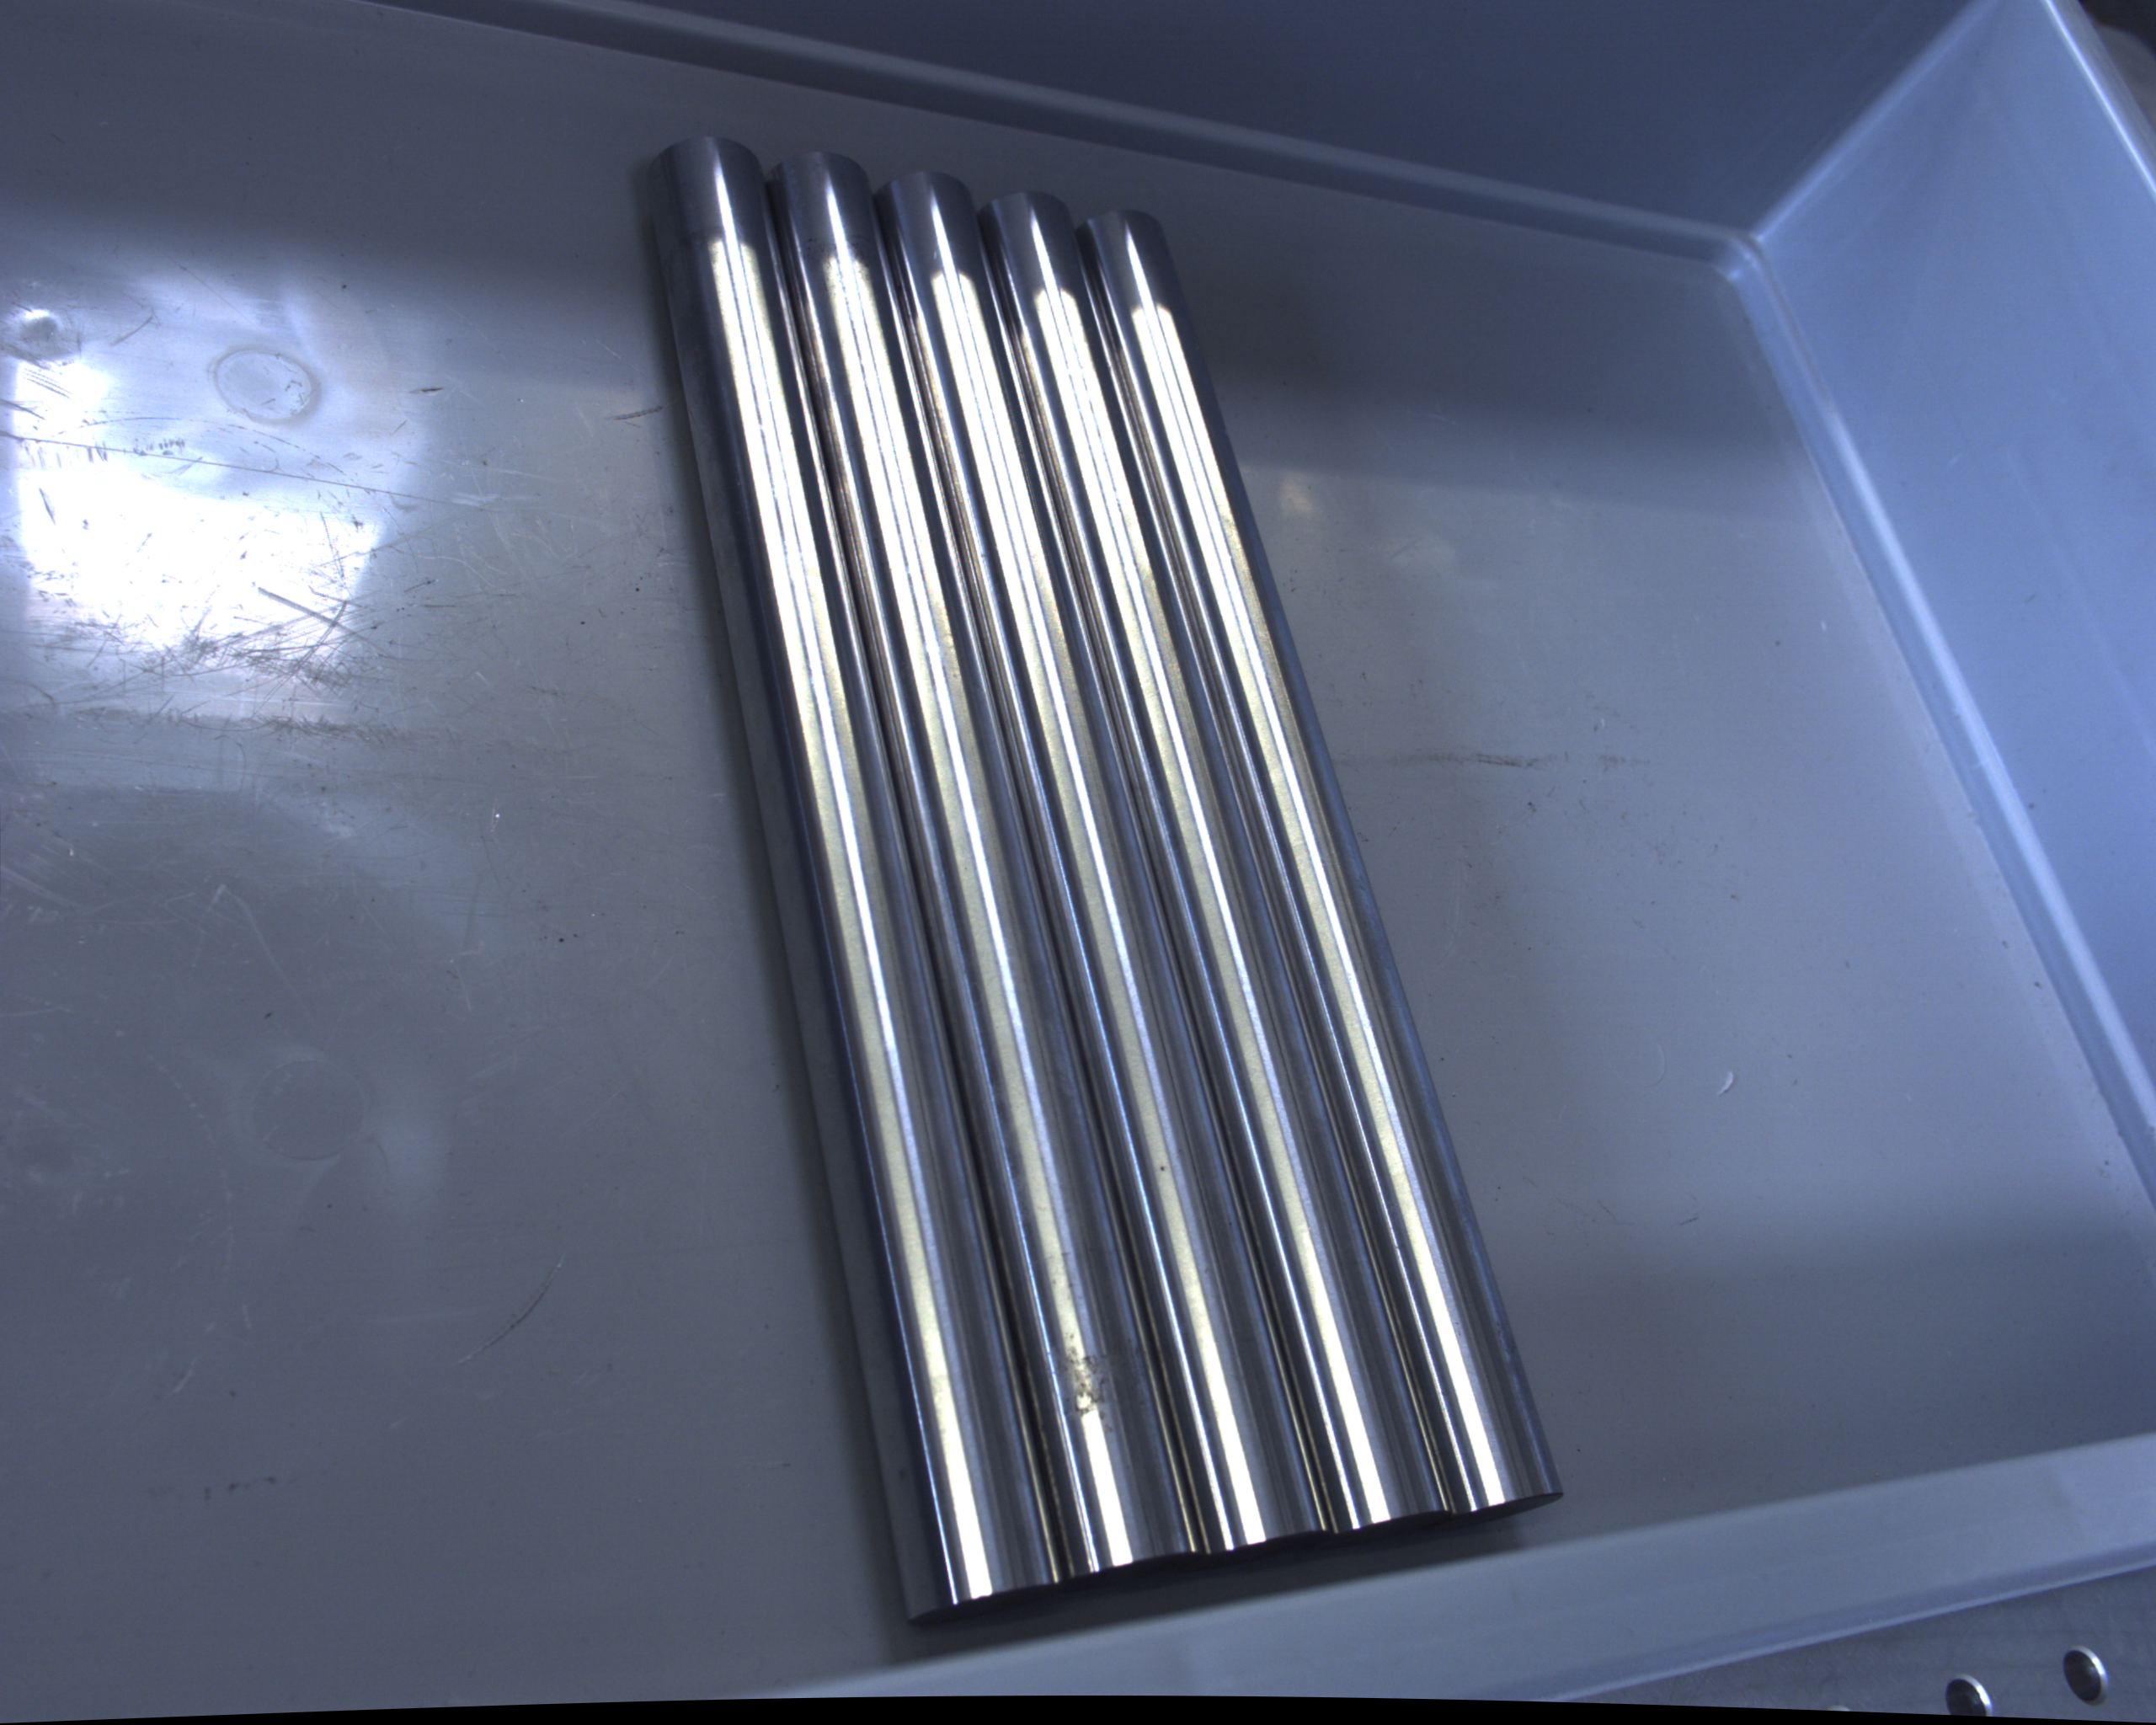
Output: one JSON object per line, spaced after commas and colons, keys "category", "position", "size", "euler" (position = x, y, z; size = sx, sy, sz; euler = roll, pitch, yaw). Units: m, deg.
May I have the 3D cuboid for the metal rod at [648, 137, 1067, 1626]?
{"category": "metal rod", "position": [-0.047, -0.016, 0.388], "size": [0.025, 0.025, 0.299], "euler": [0, 62, -28]}

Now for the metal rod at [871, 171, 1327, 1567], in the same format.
{"category": "metal rod", "position": [-0.004, -0.016, 0.412], "size": [0.025, 0.025, 0.299], "euler": [0, 62, -28]}

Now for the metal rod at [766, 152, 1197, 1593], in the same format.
{"category": "metal rod", "position": [-0.026, -0.017, 0.400], "size": [0.025, 0.025, 0.299], "euler": [0, 62, -28]}

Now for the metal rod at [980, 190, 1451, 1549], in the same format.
{"category": "metal rod", "position": [0.019, -0.016, 0.424], "size": [0.025, 0.025, 0.299], "euler": [0, 62, -28]}

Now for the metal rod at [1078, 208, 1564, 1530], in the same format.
{"category": "metal rod", "position": [0.042, -0.015, 0.436], "size": [0.025, 0.025, 0.299], "euler": [0, 62, -28]}
